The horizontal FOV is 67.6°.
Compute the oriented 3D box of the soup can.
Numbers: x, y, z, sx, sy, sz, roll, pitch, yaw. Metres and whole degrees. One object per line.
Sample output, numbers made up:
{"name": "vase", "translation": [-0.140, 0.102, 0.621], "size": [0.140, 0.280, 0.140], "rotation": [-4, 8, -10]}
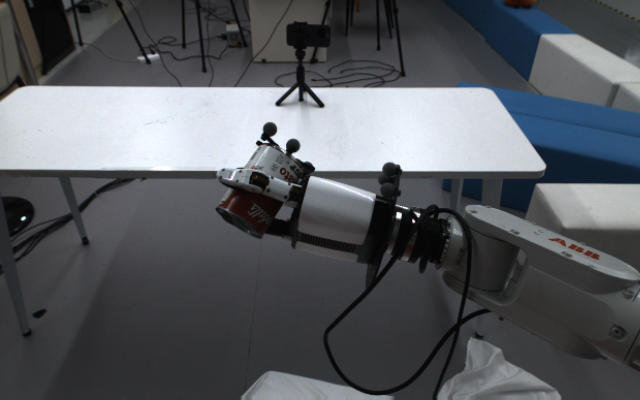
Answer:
{"name": "soup can", "translation": [-0.073, -0.012, 0.603], "size": [0.067, 0.067, 0.101], "rotation": [23, 72, 28]}
